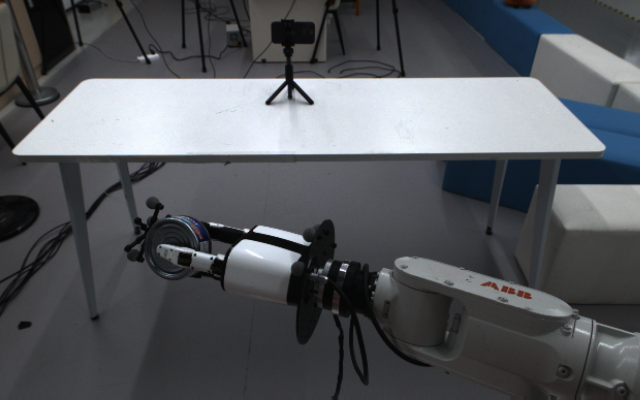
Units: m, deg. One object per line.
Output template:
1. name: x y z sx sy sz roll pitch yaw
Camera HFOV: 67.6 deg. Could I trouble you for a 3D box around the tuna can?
1. tuna can: -0.190 0.064 0.652 0.085 0.085 0.034 12 5 14
